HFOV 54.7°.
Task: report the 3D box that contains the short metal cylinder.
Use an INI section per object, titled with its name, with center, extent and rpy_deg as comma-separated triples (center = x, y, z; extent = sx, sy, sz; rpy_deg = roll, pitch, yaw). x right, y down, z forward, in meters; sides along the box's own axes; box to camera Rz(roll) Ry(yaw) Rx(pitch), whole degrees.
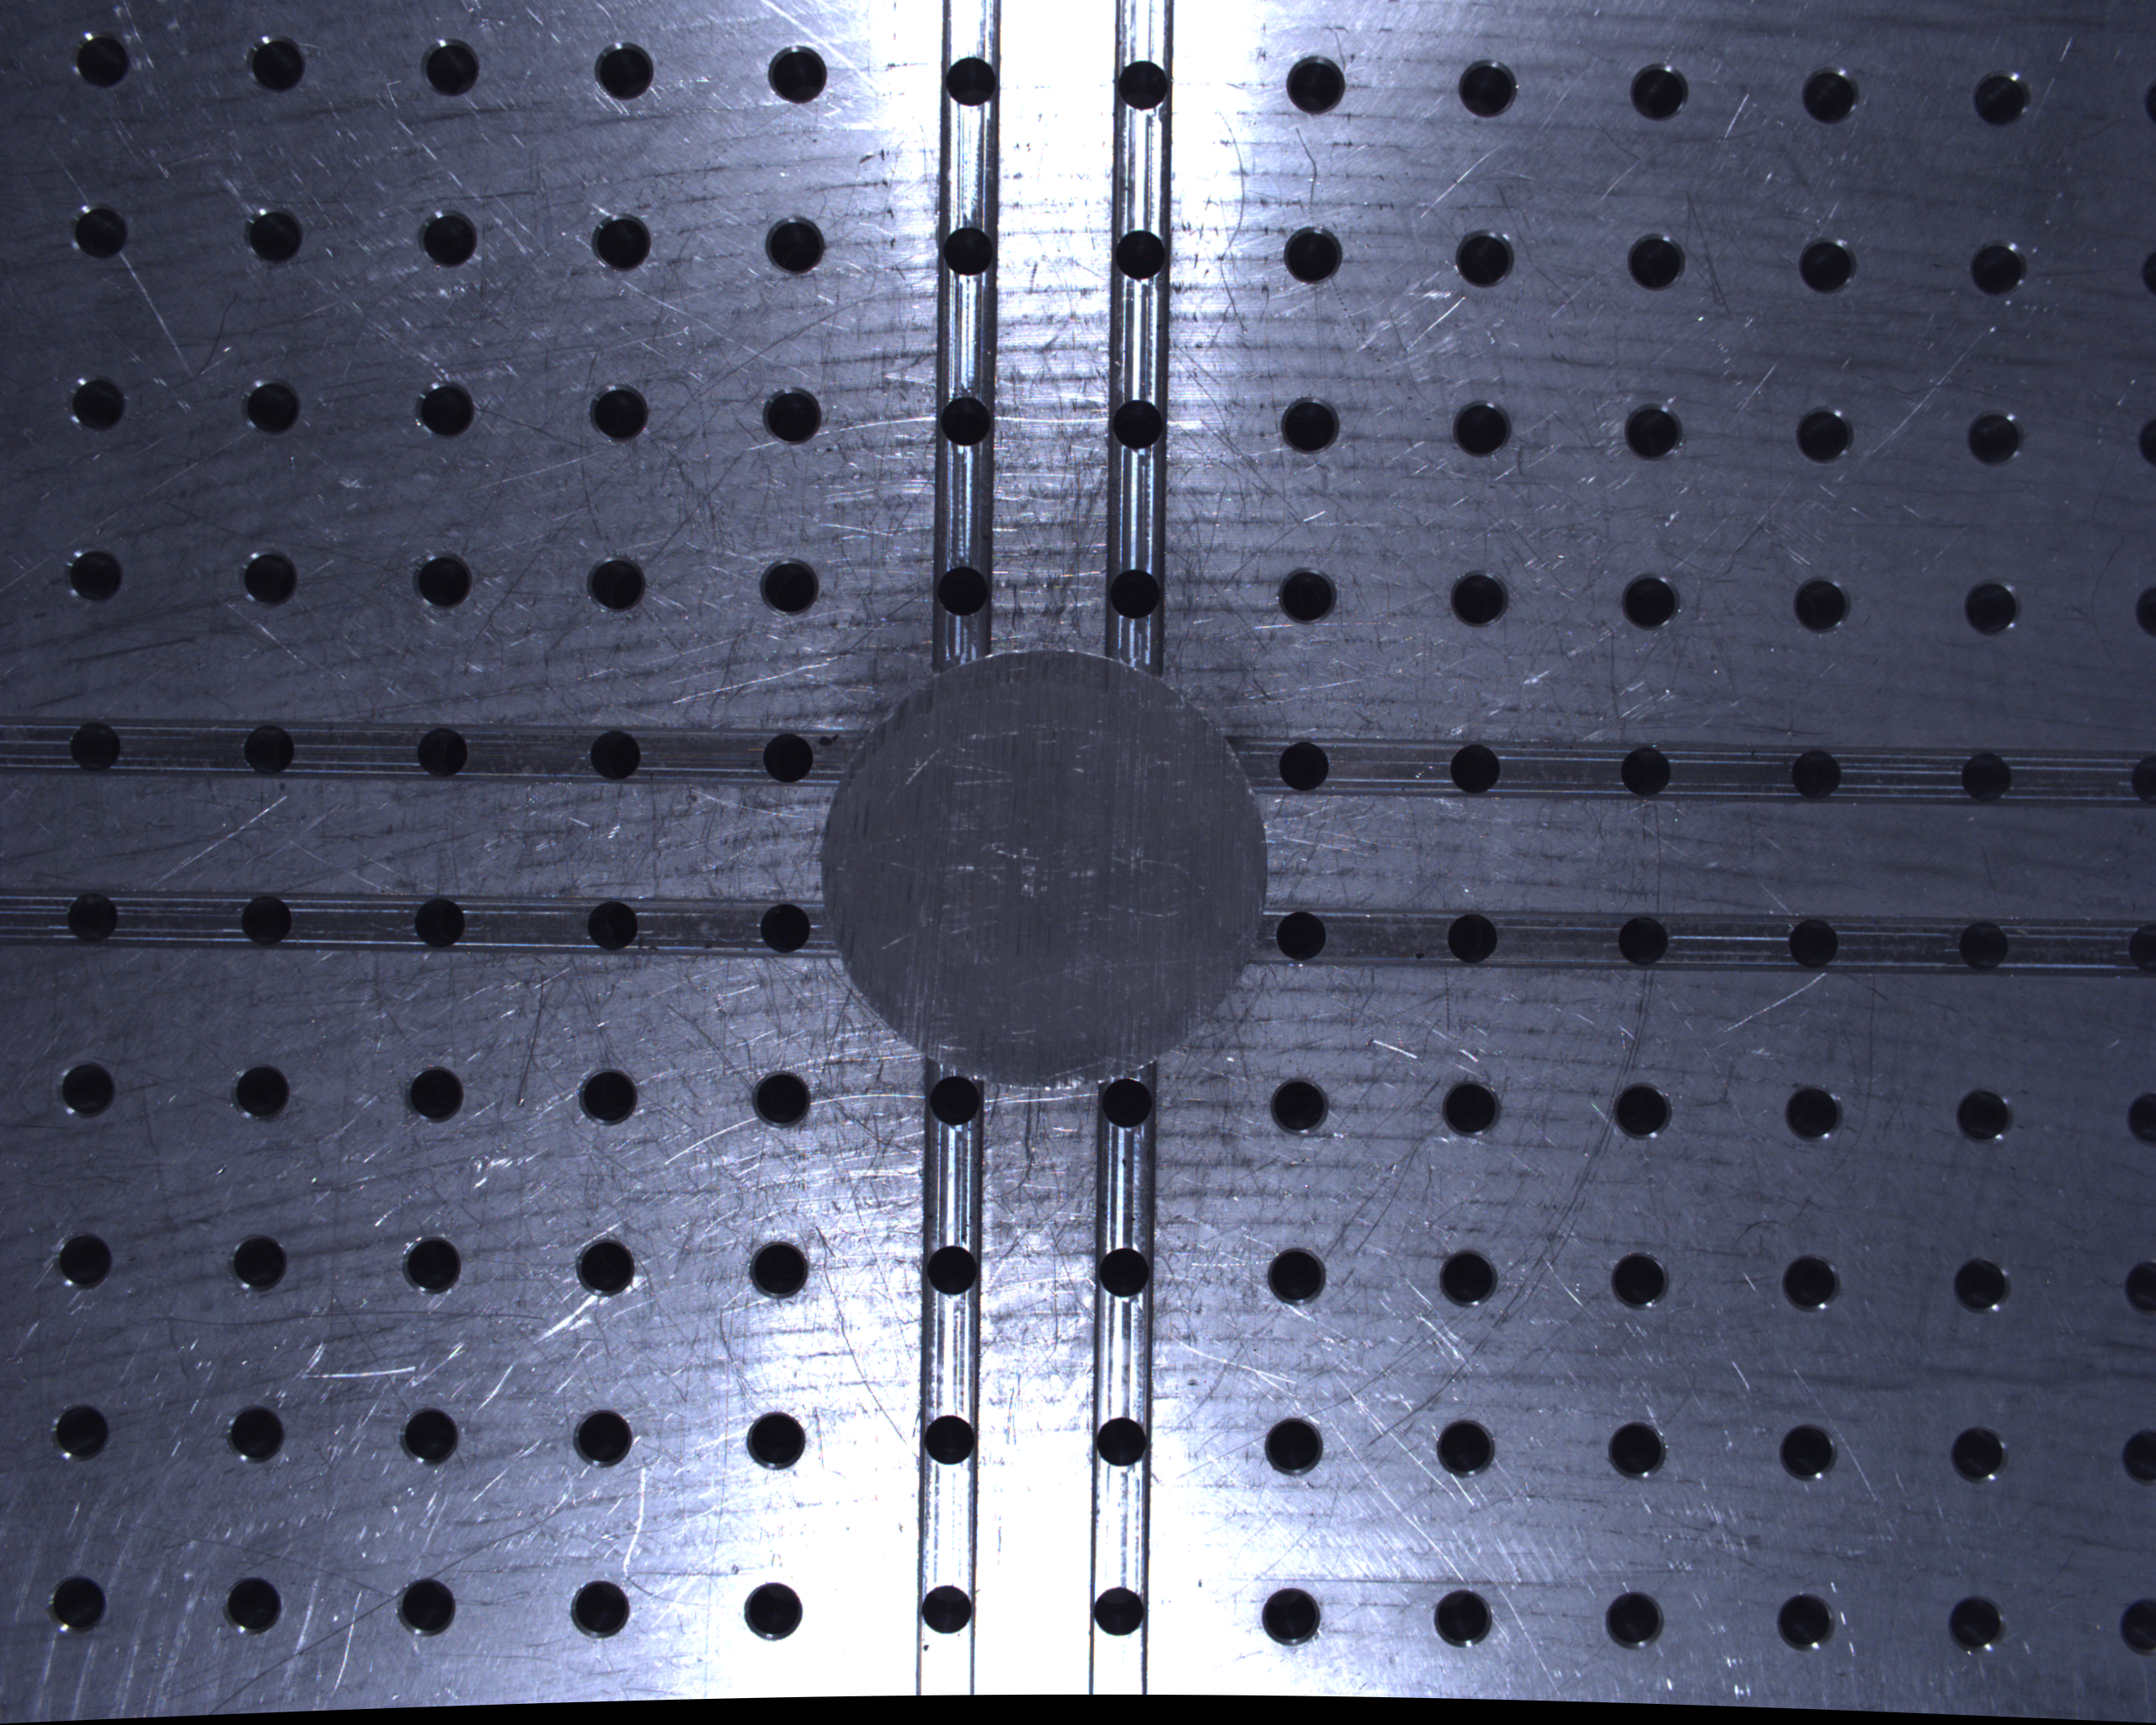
[short metal cylinder]
center = -0.006, 0.001, 0.400
extent = 0.081, 0.050, 0.079
rpy_deg = 0, 90, -1
